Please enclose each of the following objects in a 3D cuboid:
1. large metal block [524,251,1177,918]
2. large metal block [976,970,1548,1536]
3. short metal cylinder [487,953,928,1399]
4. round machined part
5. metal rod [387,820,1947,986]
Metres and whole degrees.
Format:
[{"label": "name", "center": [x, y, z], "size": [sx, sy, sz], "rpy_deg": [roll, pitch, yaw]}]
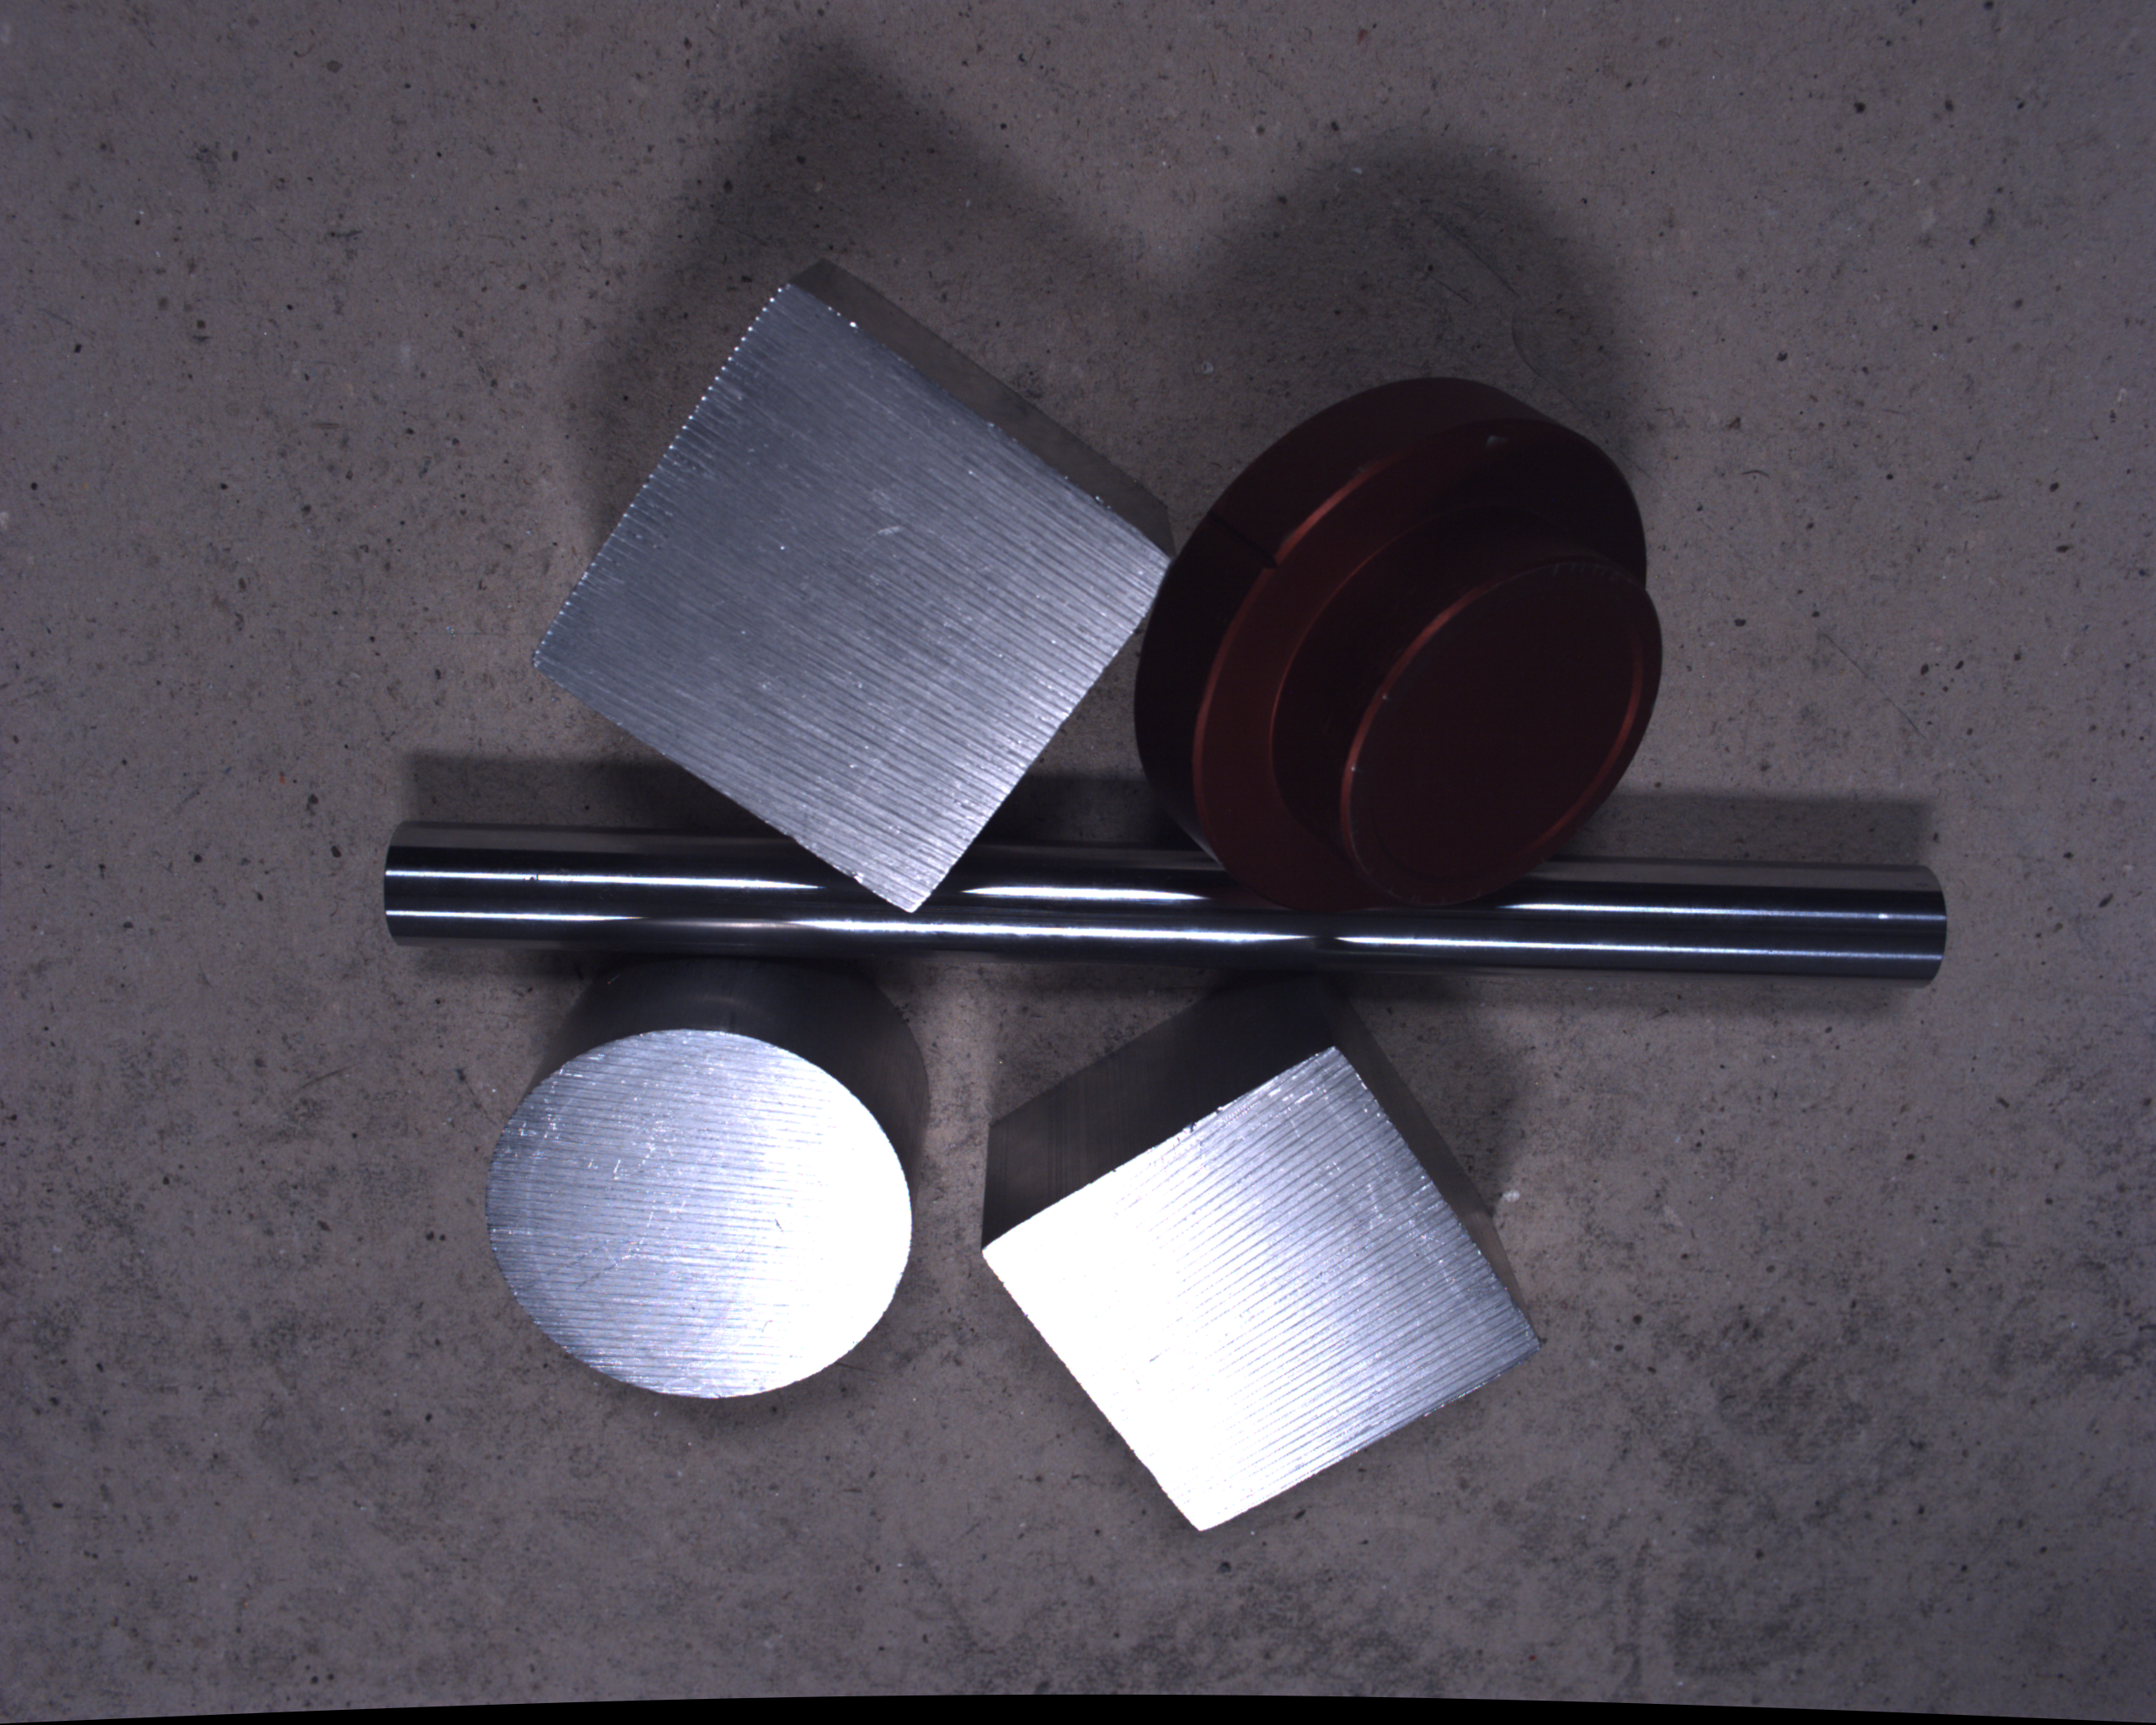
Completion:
[{"label": "large metal block", "center": [-0.038, -0.051, 0.376], "size": [0.080, 0.050, 0.080], "rpy_deg": [35, 106, -12]}, {"label": "large metal block", "center": [0.036, 0.076, 0.426], "size": [0.080, 0.050, 0.080], "rpy_deg": [-31, 108, 10]}, {"label": "short metal cylinder", "center": [-0.071, 0.059, 0.418], "size": [0.081, 0.050, 0.079], "rpy_deg": [0, 110, -1]}, {"label": "round machined part", "center": [0.062, -0.031, 0.366], "size": [0.099, 0.042, 0.097], "rpy_deg": [-17, 130, -22]}, {"label": "metal rod", "center": [0.018, 0.008, 0.415], "size": [0.302, 0.025, 0.025], "rpy_deg": [2, 110, -1]}]
